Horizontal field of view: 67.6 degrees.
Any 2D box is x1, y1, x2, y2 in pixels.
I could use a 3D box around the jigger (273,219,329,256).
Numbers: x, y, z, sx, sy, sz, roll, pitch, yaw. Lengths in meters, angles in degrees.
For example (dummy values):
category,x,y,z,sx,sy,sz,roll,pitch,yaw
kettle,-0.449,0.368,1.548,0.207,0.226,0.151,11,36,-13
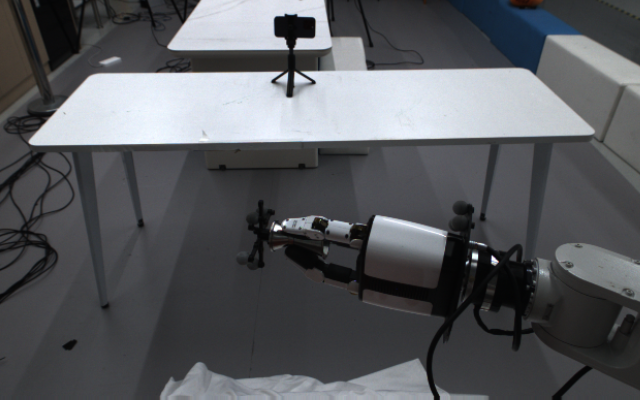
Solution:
category,x,y,z,sx,sy,sz,roll,pitch,yaw
jigger,-0.017,0.043,0.595,0.071,0.043,0.043,4,34,12
